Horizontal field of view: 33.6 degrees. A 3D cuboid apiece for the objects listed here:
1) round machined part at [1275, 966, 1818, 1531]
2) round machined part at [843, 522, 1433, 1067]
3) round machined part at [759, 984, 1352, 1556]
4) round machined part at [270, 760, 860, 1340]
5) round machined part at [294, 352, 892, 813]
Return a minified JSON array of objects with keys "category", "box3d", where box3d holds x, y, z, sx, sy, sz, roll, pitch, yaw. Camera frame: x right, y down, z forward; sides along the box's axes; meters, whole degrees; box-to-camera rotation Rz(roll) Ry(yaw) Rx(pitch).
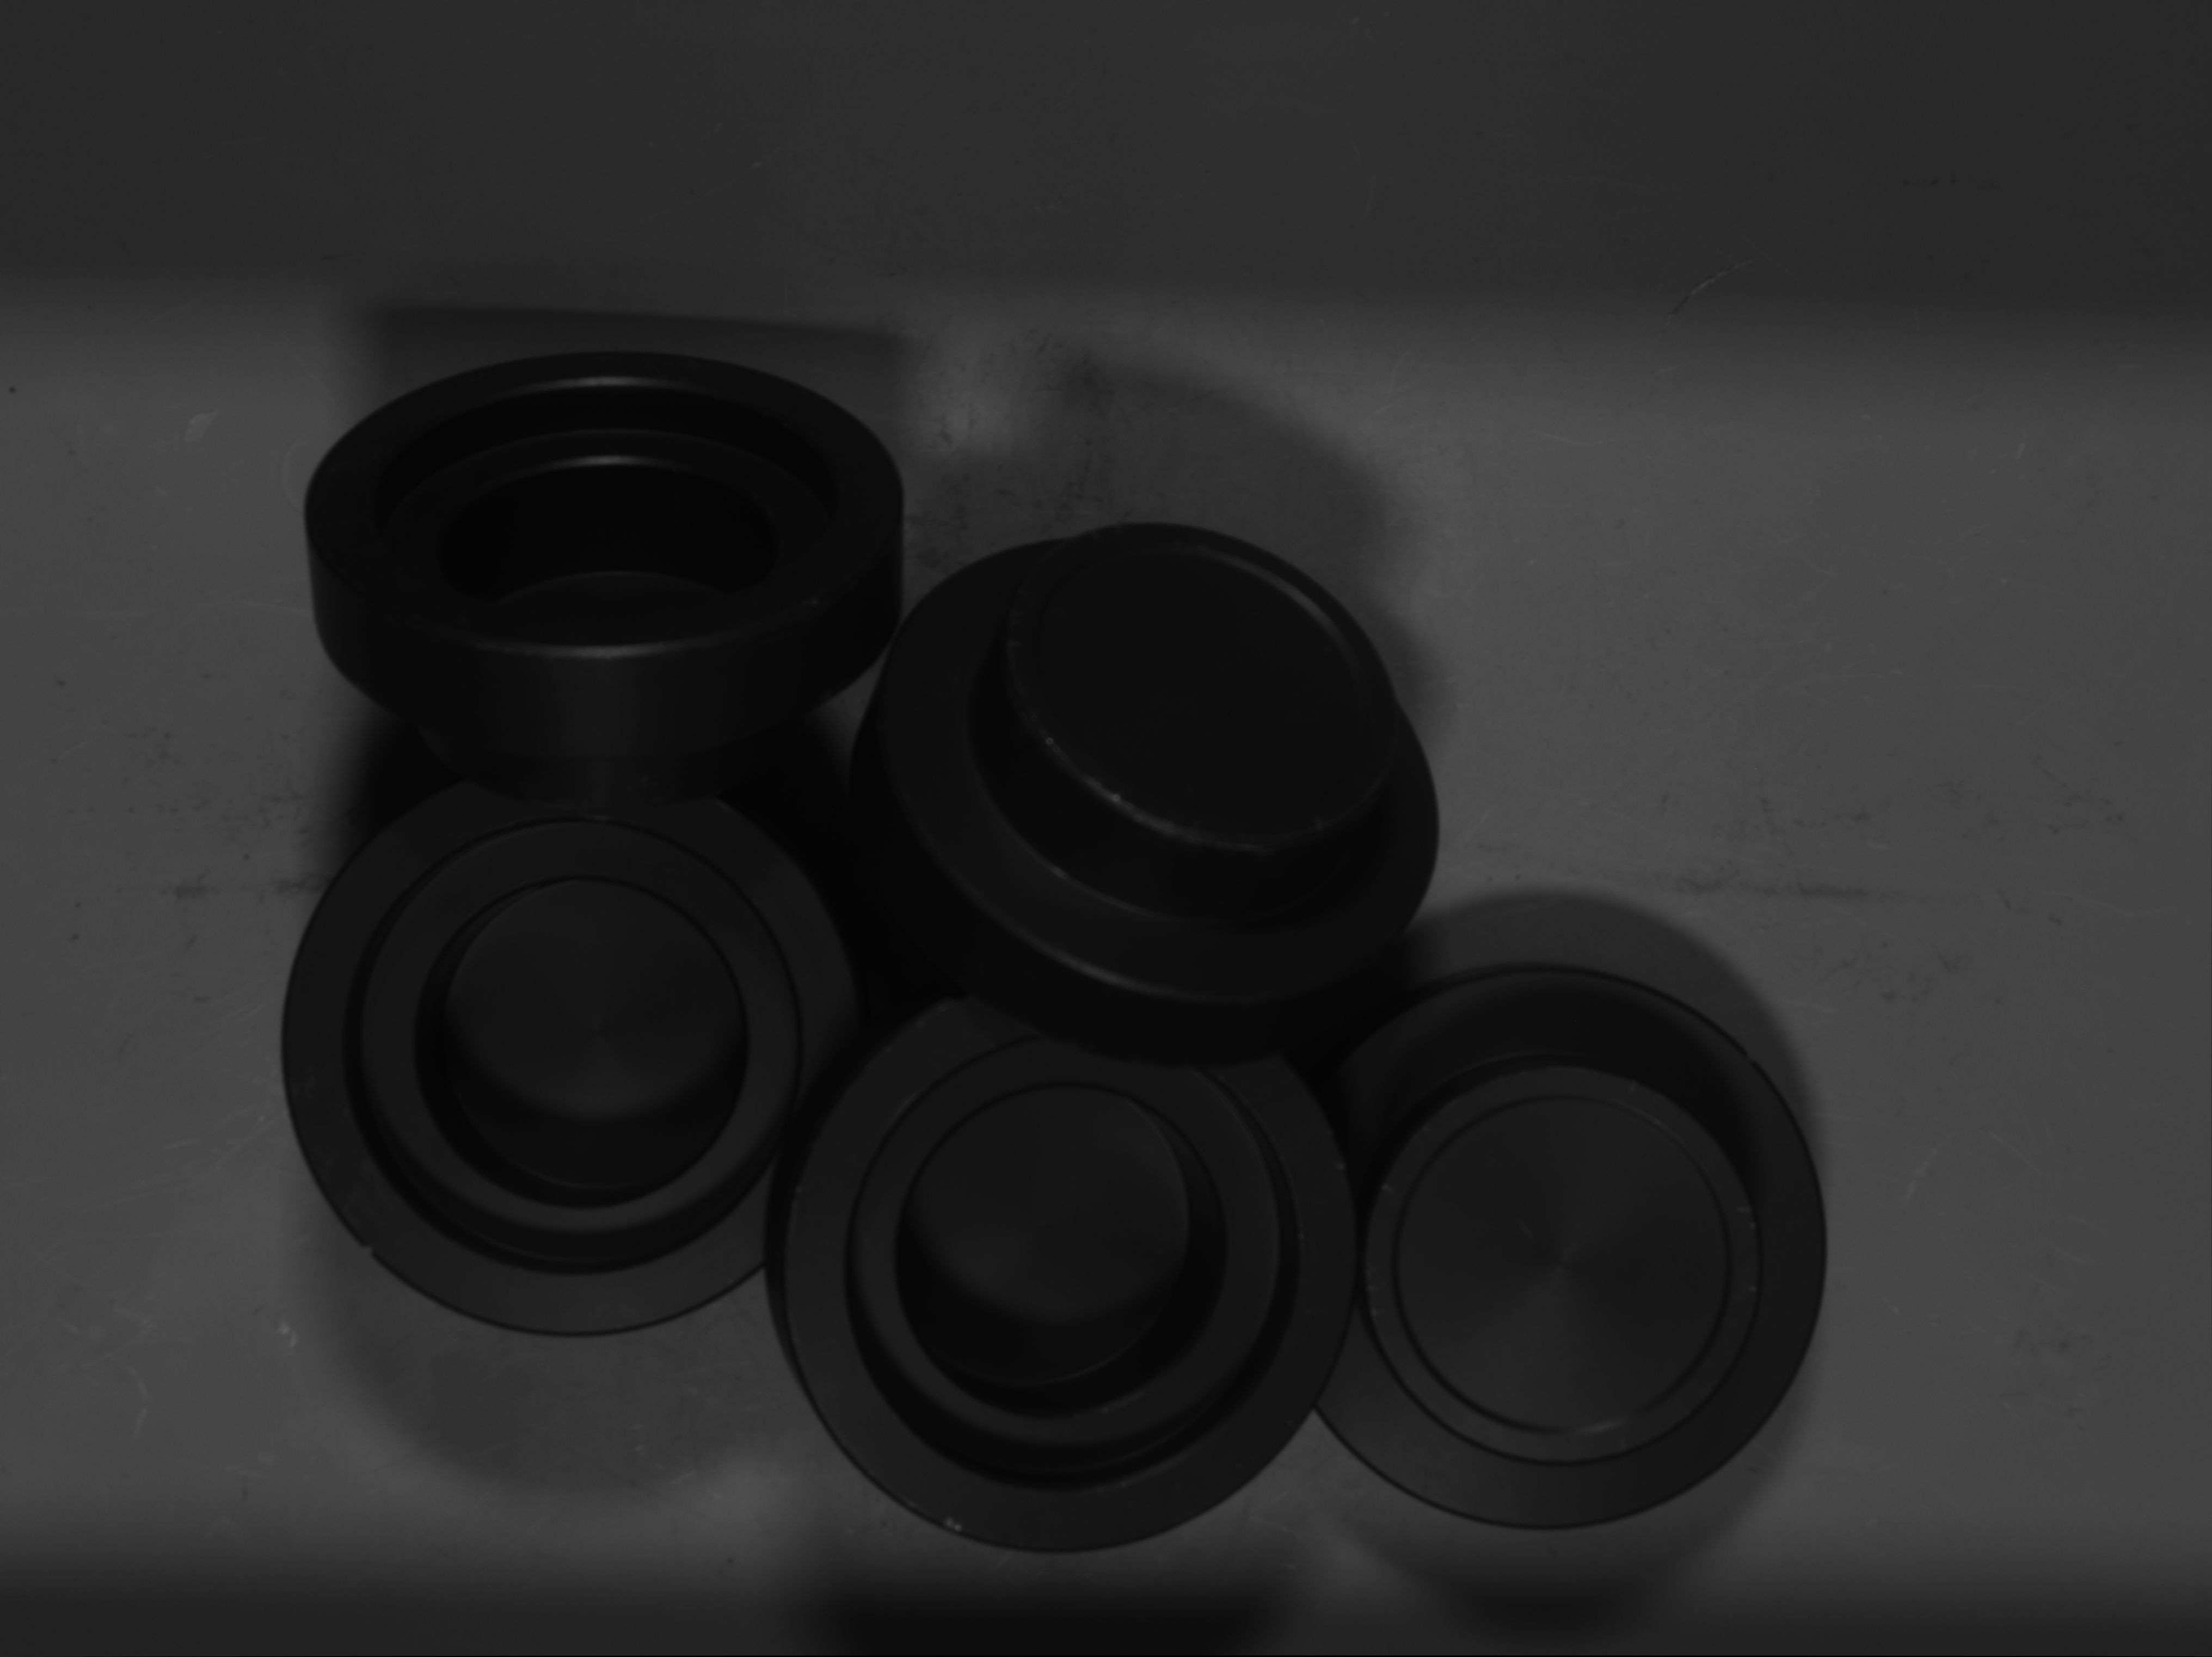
[{"category":"round machined part","box3d":[0.075,0.073,0.636,0.098,0.042,0.098,0,90,0]},{"category":"round machined part","box3d":[0.009,-0.012,0.608,0.098,0.042,0.098,11,49,-13]},{"category":"round machined part","box3d":[-0.011,0.070,0.624,0.098,0.042,0.098,-1,96,-13]},{"category":"round machined part","box3d":[-0.091,0.037,0.634,0.098,0.042,0.098,0,90,0]},{"category":"round machined part","box3d":[-0.085,-0.039,0.617,0.098,0.098,0.042,3,125,0]}]
